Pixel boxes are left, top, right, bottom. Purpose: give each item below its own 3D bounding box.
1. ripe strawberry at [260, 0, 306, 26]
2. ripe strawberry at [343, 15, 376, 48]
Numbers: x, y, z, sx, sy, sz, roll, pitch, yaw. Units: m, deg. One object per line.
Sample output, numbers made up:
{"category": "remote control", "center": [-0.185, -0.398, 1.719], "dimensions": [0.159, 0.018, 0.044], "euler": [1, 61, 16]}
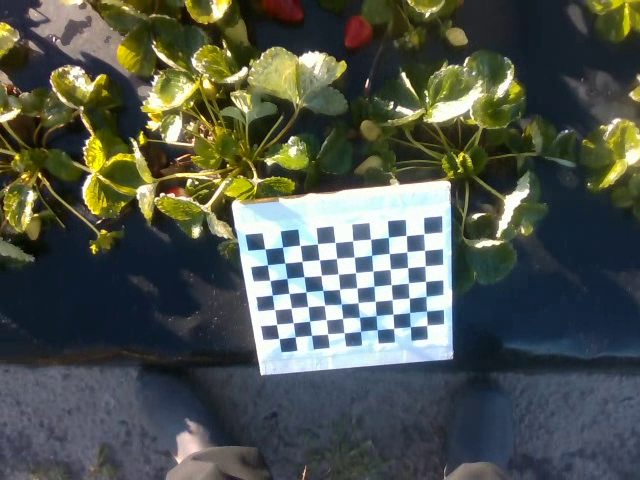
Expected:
{"category": "ripe strawberry", "center": [-0.042, -0.286, 0.764], "dimensions": [0.056, 0.044, 0.040], "euler": [42, 11, -15]}
{"category": "ripe strawberry", "center": [0.046, -0.251, 0.766], "dimensions": [0.039, 0.047, 0.040], "euler": [31, 3, -13]}
